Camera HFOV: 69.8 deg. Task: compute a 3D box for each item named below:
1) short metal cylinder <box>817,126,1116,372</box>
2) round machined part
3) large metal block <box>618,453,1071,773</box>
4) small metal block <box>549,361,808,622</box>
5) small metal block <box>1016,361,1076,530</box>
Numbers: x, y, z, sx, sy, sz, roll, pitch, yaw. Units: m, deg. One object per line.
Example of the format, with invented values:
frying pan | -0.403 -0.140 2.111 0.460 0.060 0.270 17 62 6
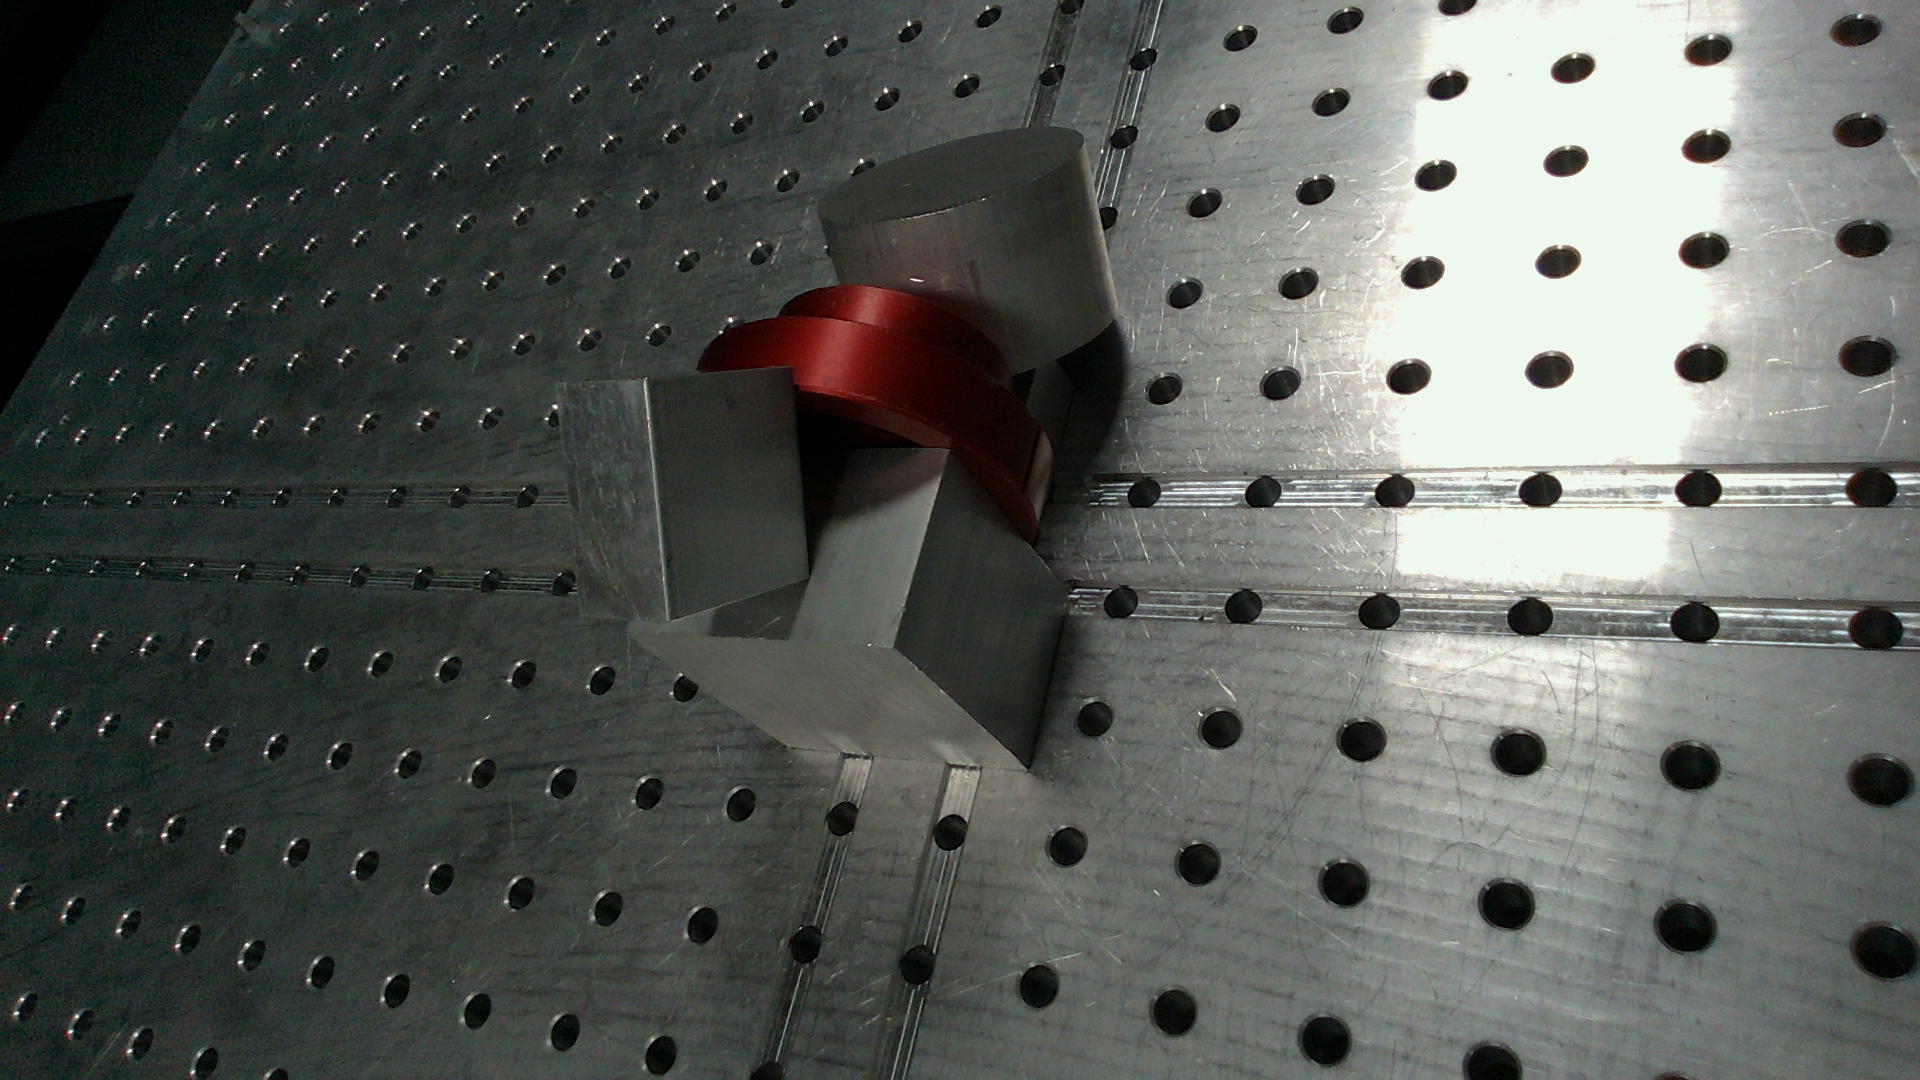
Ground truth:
short metal cylinder | 0.003 -0.086 0.410 0.080 0.050 0.080 -12 28 7
round machined part | -0.023 -0.031 0.368 0.098 0.098 0.042 1 62 29
large metal block | -0.027 0.020 0.362 0.080 0.080 0.050 1 62 29
small metal block | -0.060 -0.012 0.303 0.025 0.050 0.050 1 100 29
small metal block | 0.002 -0.031 0.414 0.050 0.025 0.050 1 62 29
